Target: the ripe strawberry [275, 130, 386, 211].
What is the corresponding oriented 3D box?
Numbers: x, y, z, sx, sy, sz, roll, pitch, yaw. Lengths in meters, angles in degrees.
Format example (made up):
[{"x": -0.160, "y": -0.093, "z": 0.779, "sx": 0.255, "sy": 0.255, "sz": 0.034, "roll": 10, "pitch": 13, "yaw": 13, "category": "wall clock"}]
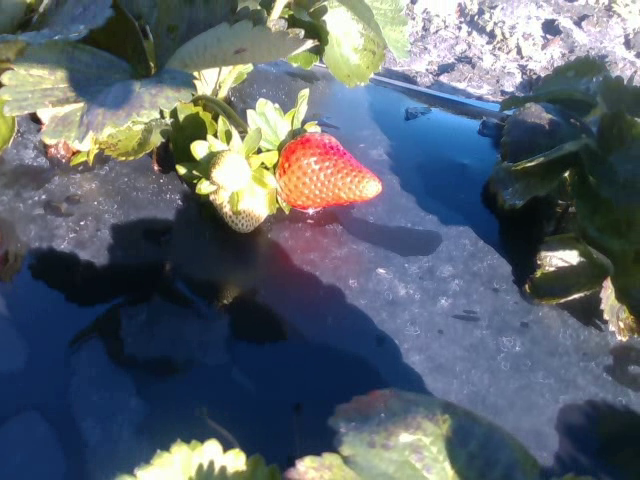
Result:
[{"x": 0.006, "y": -0.032, "z": 0.316, "sx": 0.064, "sy": 0.050, "sz": 0.052, "roll": 18, "pitch": -12, "yaw": 22, "category": "ripe strawberry"}]
